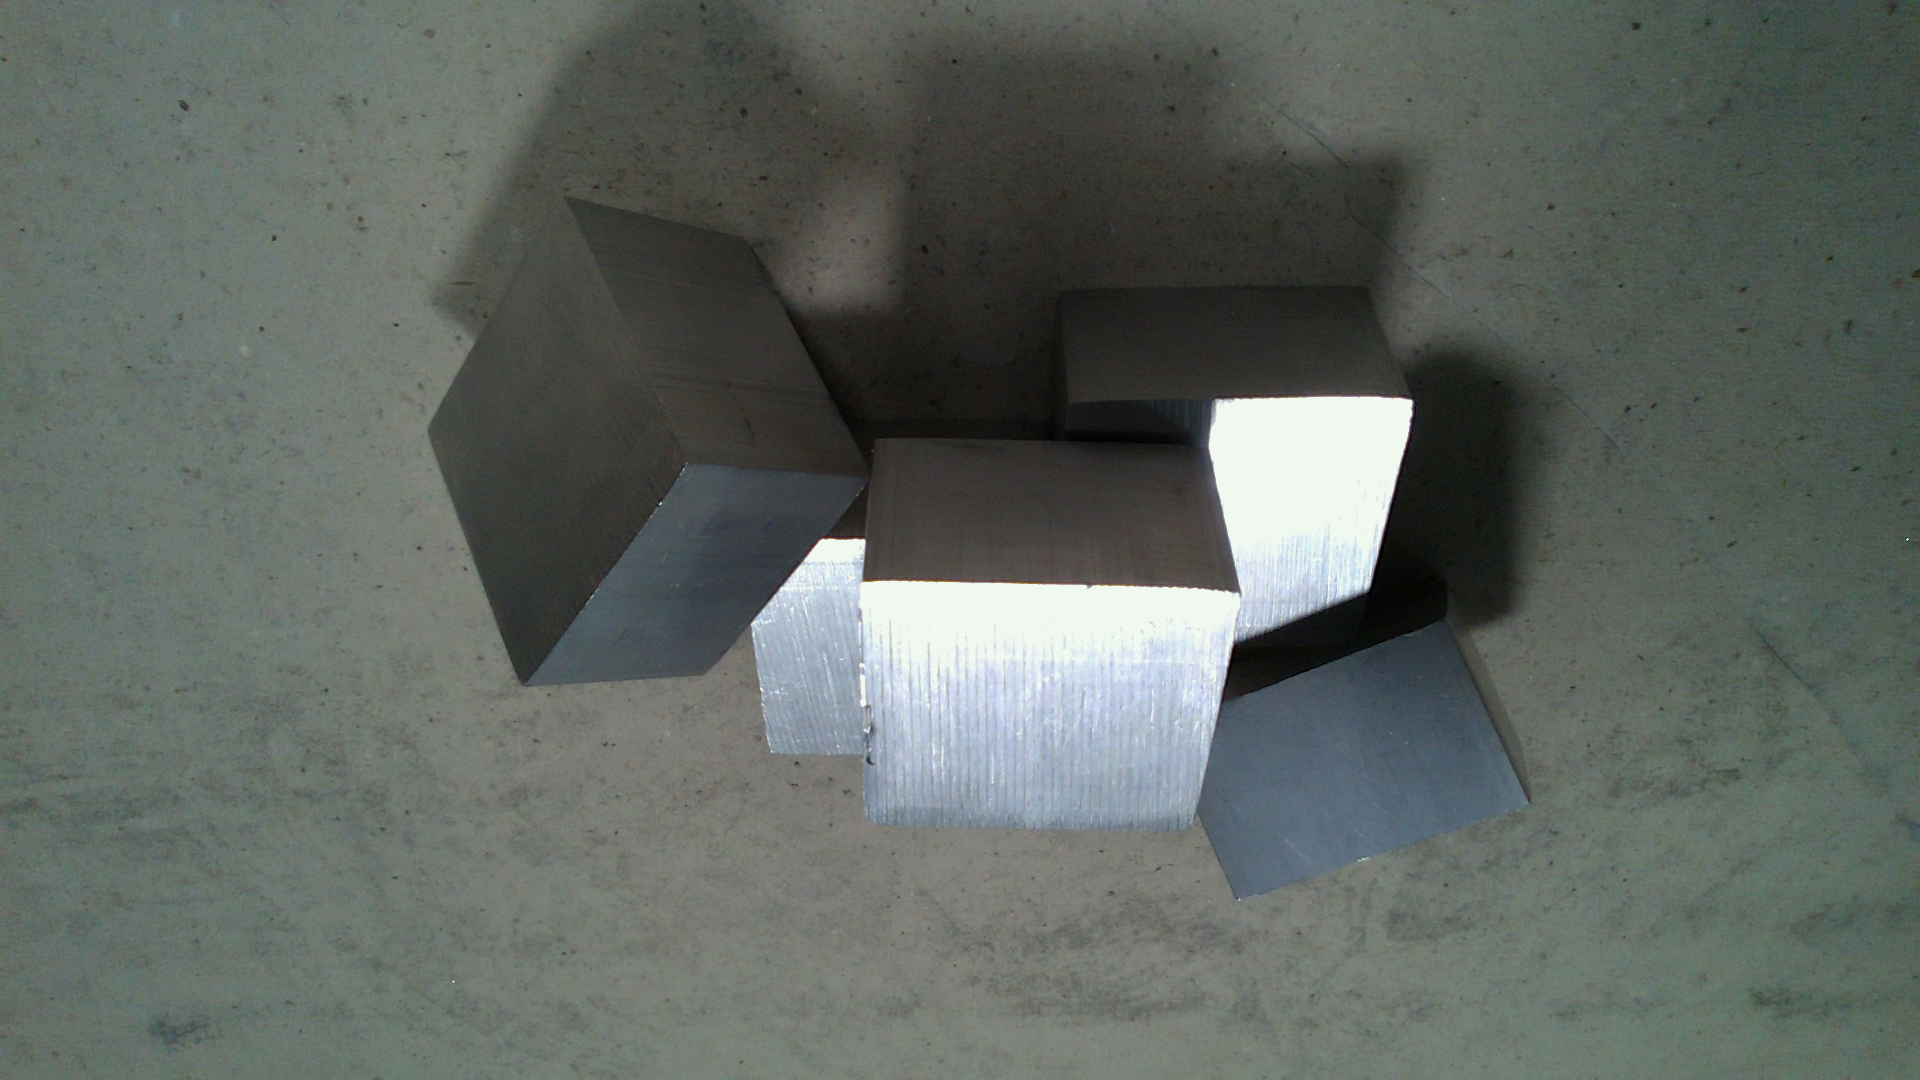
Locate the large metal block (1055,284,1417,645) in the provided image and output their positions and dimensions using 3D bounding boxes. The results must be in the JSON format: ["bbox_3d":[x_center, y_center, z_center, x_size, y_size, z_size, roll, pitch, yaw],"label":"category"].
[{"bbox_3d":[0.065,-0.019,0.359,0.080,0.050,0.080,0,130,0],"label":"large metal block"}]

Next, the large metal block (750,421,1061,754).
[{"bbox_3d":[-0.015,0.014,0.384,0.080,0.050,0.080,0,130,0],"label":"large metal block"}]

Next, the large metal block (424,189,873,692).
[{"bbox_3d":[-0.077,-0.021,0.327,0.050,0.080,0.080,2,140,-47],"label":"large metal block"}]

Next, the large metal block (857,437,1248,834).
[{"bbox_3d":[0.018,0.024,0.326,0.080,0.050,0.080,1,130,-1],"label":"large metal block"}]

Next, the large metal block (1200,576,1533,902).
[{"bbox_3d":[0.110,0.054,0.392,0.080,0.080,0.050,-25,88,19],"label":"large metal block"}]
